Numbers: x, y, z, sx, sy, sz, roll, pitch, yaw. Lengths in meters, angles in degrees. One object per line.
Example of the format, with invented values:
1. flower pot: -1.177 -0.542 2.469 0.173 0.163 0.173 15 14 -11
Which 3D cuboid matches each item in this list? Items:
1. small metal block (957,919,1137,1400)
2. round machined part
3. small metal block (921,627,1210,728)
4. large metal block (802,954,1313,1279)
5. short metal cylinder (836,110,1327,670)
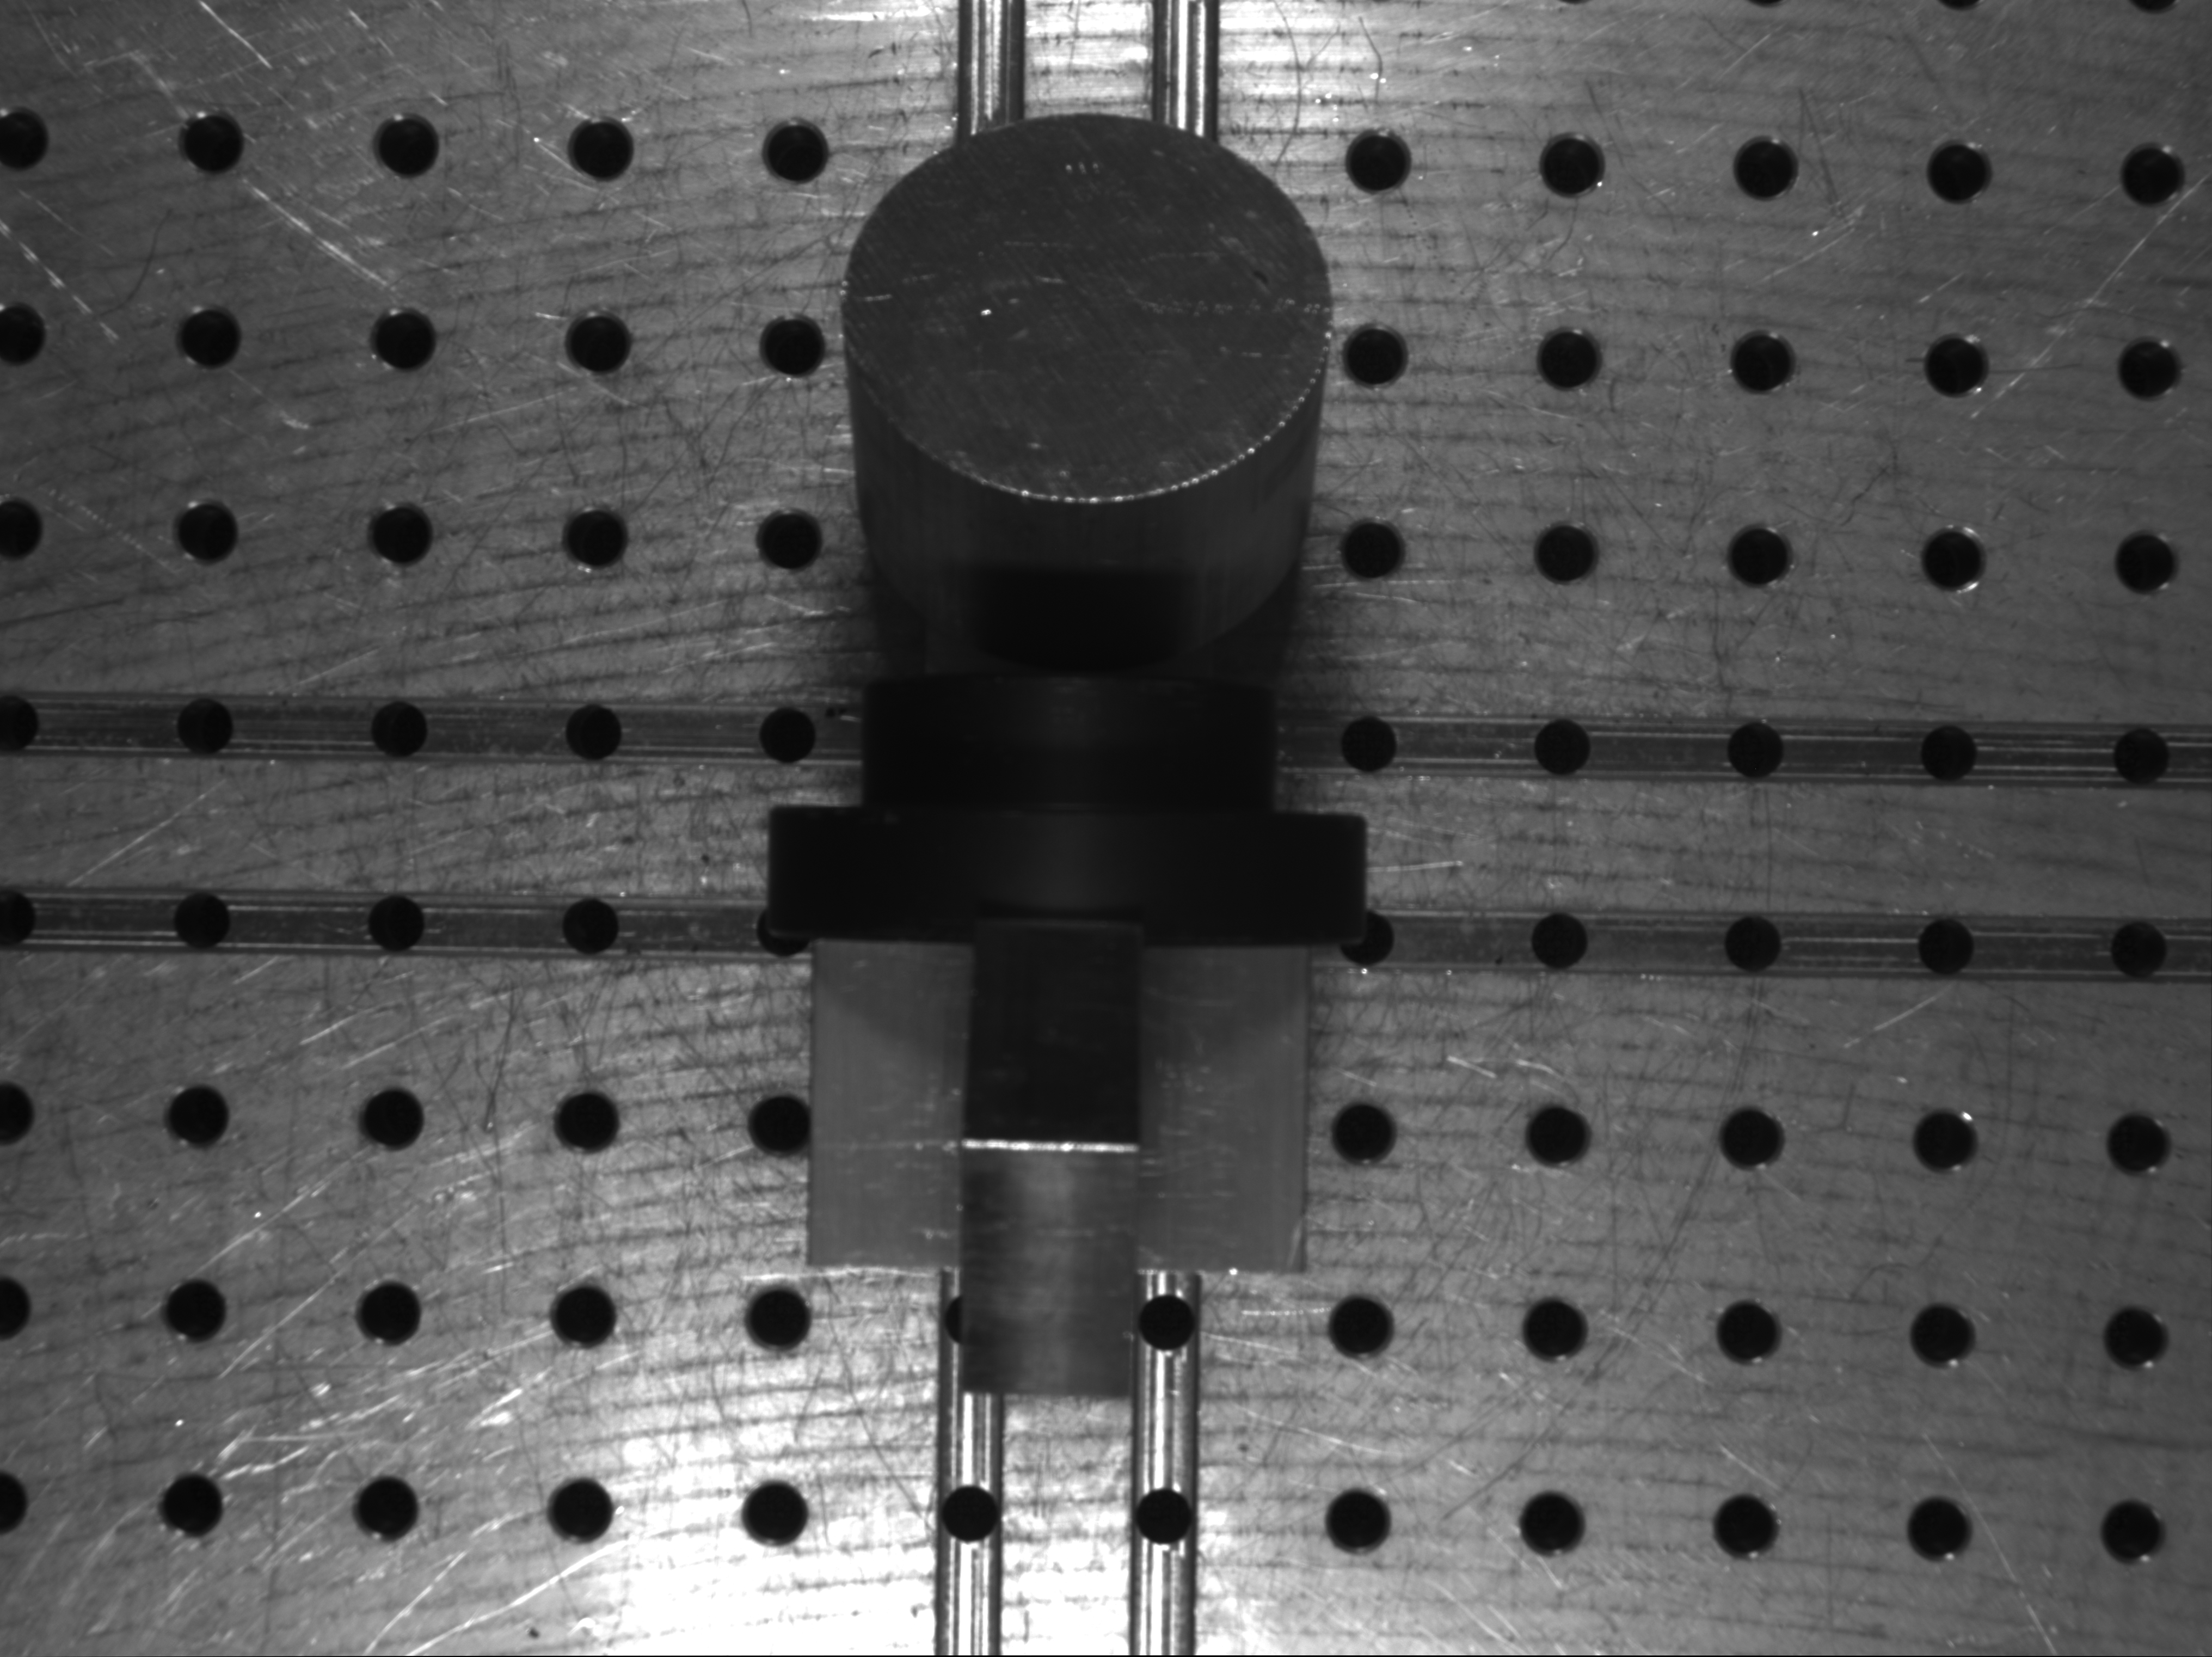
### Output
1. small metal block: -0.009 0.049 0.544 0.025 0.050 0.050 1 128 -1
2. round machined part: -0.007 -0.003 0.600 0.098 0.098 0.042 1 90 0
3. small metal block: -0.007 -0.027 0.647 0.050 0.025 0.050 1 90 0
4. large metal block: -0.008 0.046 0.619 0.080 0.080 0.050 1 90 0
5. short metal cylinder: -0.004 -0.074 0.618 0.080 0.050 0.080 1 60 -1
